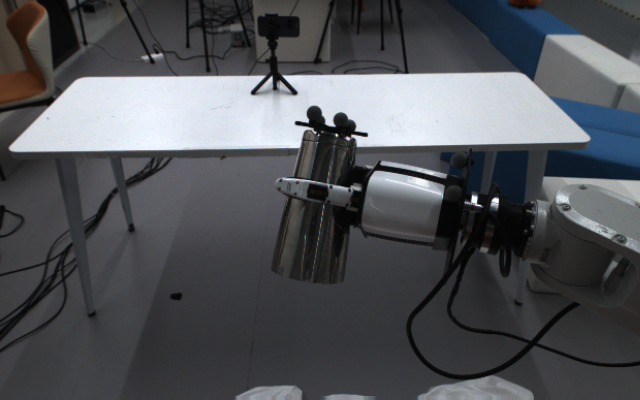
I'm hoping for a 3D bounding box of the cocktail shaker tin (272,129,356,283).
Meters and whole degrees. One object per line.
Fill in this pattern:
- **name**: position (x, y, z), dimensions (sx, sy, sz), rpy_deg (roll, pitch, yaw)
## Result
- **cocktail shaker tin**: position (0.000, 0.007, 0.587), dimensions (0.093, 0.170, 0.093), rpy_deg (10, 3, -1)
